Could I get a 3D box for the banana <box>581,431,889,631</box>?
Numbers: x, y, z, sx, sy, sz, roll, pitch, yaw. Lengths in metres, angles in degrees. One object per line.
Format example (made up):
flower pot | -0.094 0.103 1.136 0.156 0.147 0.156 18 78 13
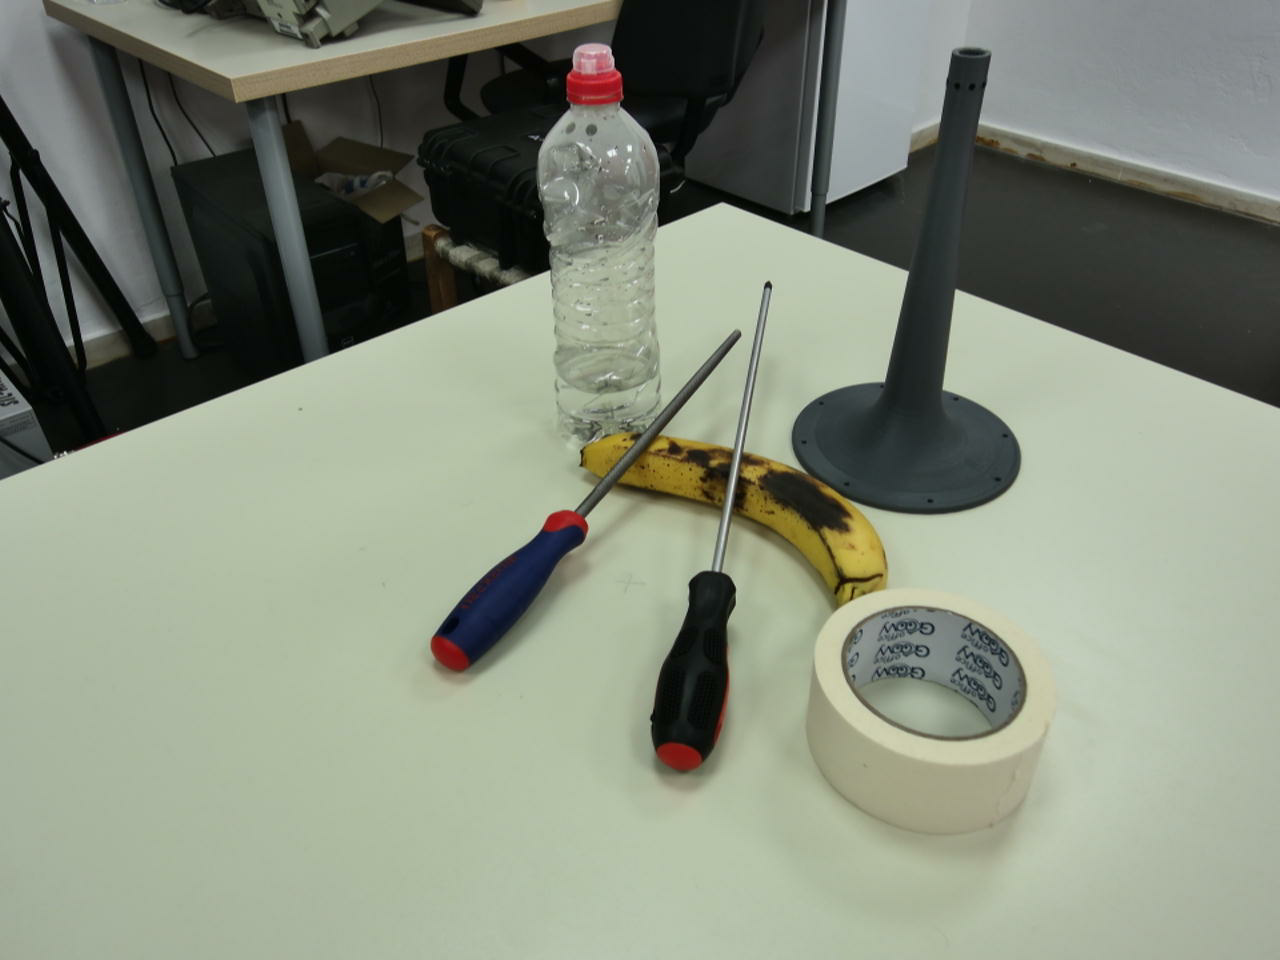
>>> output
banana | 0.063 0.014 0.595 0.084 0.037 0.222 -28 44 -31
